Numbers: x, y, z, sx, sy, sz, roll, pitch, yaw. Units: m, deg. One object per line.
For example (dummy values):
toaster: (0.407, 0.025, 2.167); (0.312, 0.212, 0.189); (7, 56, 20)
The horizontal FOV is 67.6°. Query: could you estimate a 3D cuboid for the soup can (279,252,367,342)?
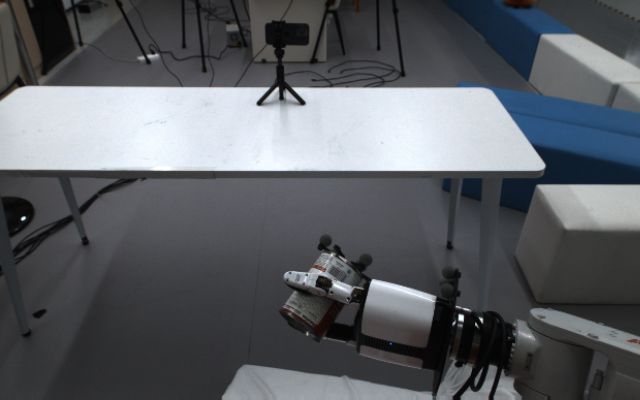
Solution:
soup can: (0.003, 0.126, 0.645); (0.067, 0.067, 0.101); (25, 67, 30)
